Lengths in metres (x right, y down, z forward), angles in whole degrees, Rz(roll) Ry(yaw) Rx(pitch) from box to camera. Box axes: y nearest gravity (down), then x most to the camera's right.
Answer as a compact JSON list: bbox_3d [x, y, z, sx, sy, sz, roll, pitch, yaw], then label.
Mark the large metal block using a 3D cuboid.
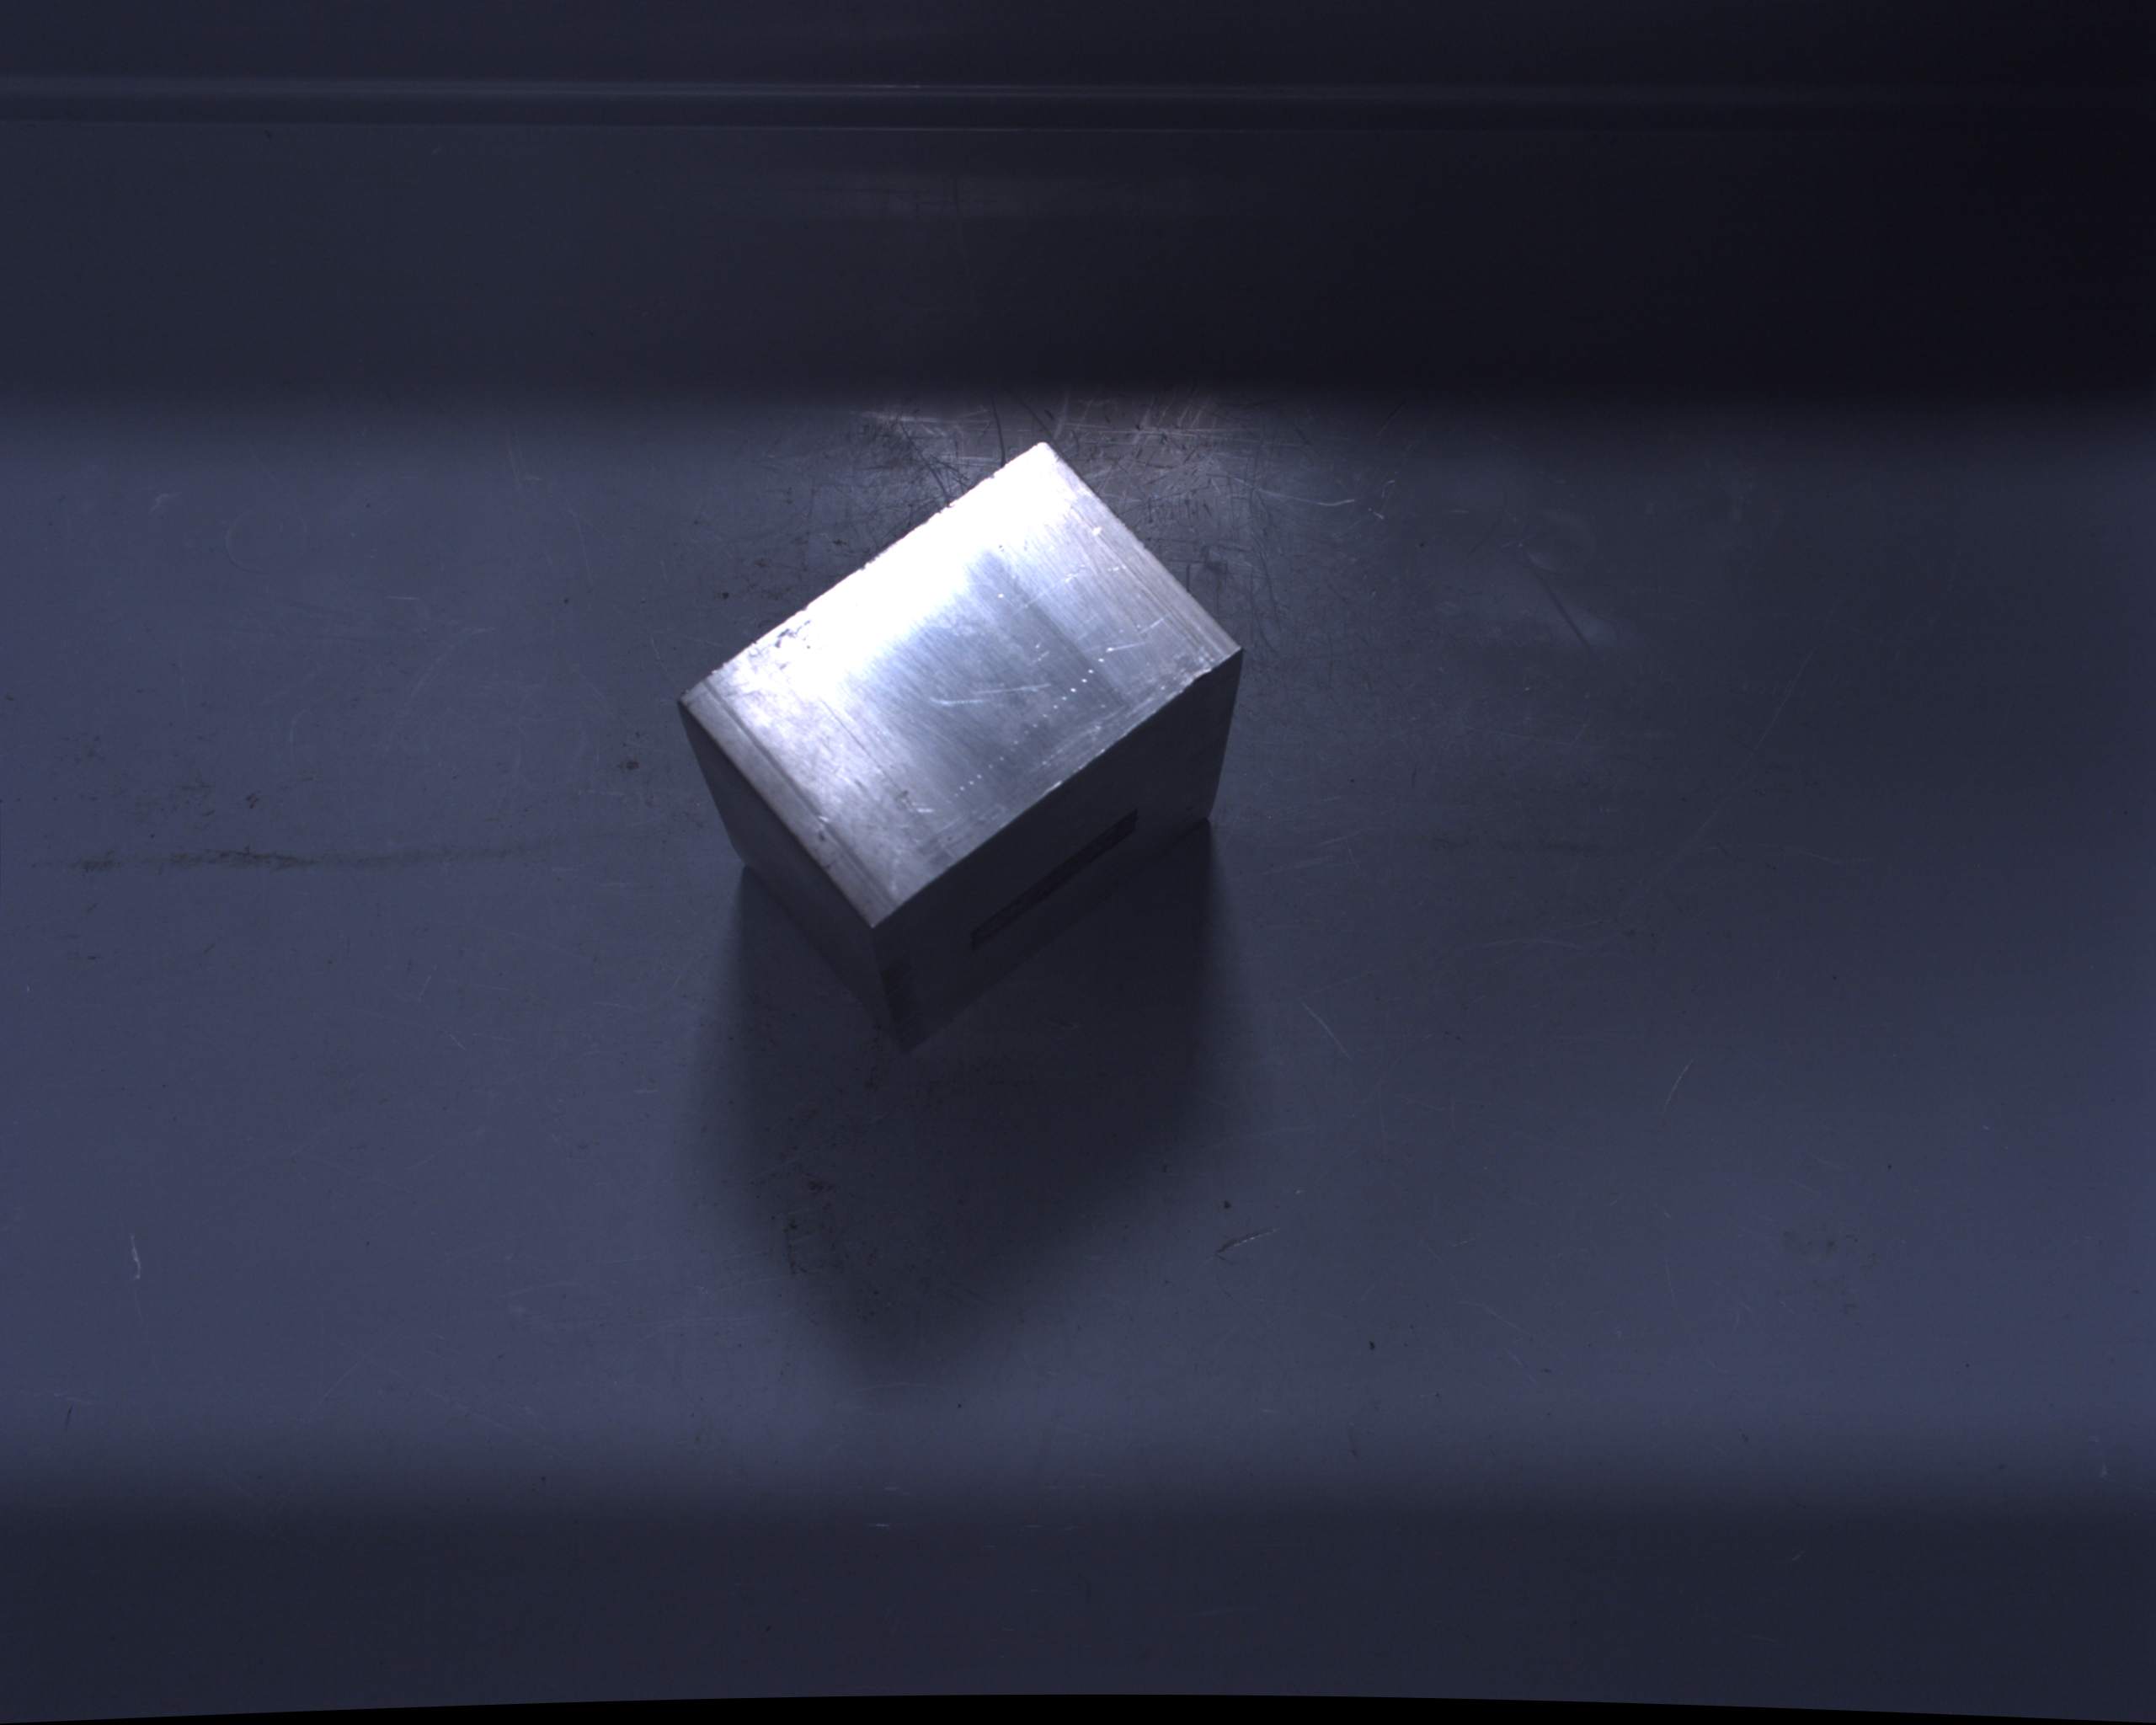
[{"bbox_3d":[-0.019,-0.019,0.384,0.080,0.080,0.050,-38,75,-13],"label":"large metal block"}]
